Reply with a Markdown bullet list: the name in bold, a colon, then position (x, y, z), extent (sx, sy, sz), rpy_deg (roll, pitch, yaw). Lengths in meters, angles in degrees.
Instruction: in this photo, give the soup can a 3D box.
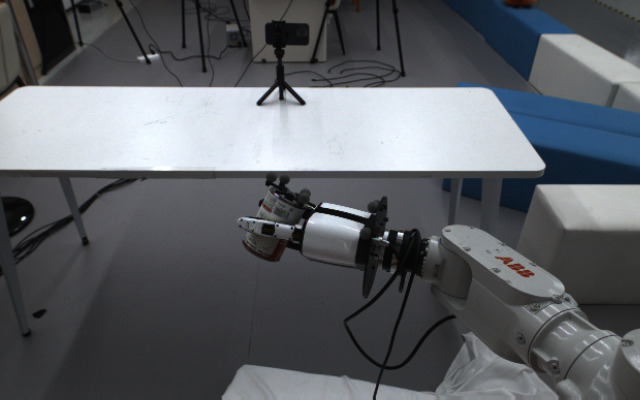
- **soup can**: position (-0.072, 0.040, 0.773), extent (0.067, 0.101, 0.067), rpy_deg (27, 10, -5)
